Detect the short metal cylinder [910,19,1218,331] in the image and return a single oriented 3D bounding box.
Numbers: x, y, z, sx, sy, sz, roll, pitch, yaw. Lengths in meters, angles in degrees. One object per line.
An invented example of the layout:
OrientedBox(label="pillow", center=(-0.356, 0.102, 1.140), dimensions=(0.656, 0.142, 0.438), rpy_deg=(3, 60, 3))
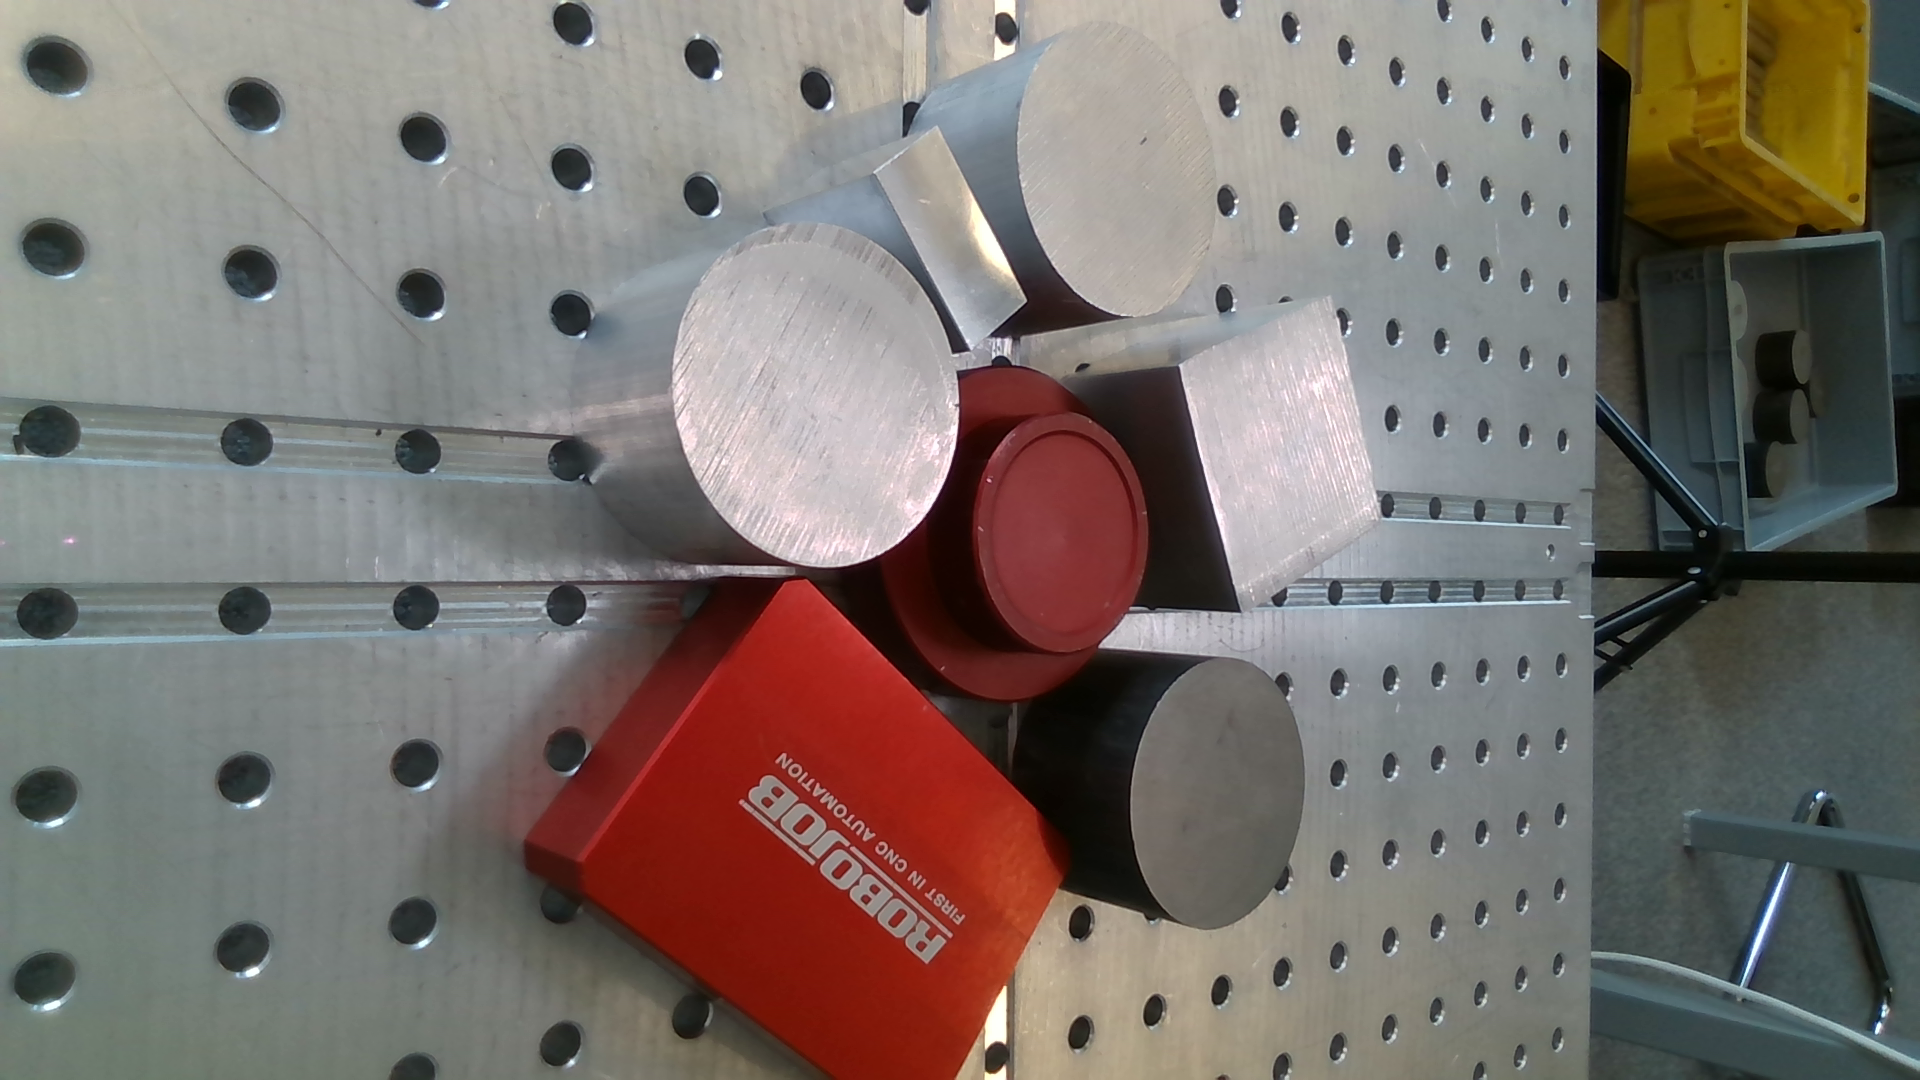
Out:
OrientedBox(label="short metal cylinder", center=(0.030, -0.104, 0.402), dimensions=(0.080, 0.050, 0.080), rpy_deg=(0, 90, -40))

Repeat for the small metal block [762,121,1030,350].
OrientedBox(label="small metal block", center=(-0.017, -0.076, 0.362), dimensions=(0.025, 0.050, 0.050), rpy_deg=(-45, 117, -31))

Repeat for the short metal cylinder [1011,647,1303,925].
OrientedBox(label="short metal cylinder", center=(0.062, 0.075, 0.430), dimensions=(0.080, 0.050, 0.080), rpy_deg=(0, 90, -40))

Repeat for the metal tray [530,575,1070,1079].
OrientedBox(label="metal tray", center=(-0.034, 0.082, 0.361), dimensions=(0.130, 0.030, 0.090), rpy_deg=(48, 61, -30))

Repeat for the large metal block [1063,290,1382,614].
OrientedBox(label="large metal block", center=(0.087, -0.029, 0.452), dimensions=(0.080, 0.050, 0.080), rpy_deg=(-27, 107, -37))

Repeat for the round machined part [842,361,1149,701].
OrientedBox(label="round machined part", center=(0.016, -0.003, 0.396), dimensions=(0.098, 0.042, 0.098), rpy_deg=(0, 90, -40))

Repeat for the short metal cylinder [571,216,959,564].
OrientedBox(label="short metal cylinder", center=(-0.047, -0.034, 0.338), dimensions=(0.080, 0.050, 0.080), rpy_deg=(0, 90, -40))
